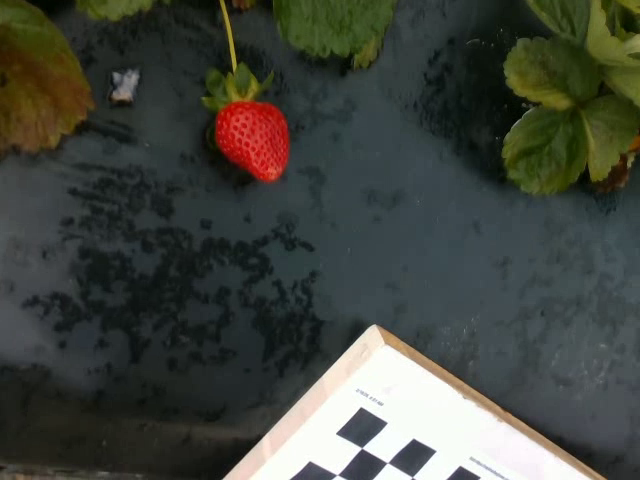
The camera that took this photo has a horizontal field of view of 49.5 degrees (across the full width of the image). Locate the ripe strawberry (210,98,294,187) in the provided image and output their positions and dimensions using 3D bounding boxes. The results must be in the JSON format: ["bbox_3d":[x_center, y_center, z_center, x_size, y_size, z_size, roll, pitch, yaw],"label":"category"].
[{"bbox_3d":[-0.034,-0.052,0.364,0.045,0.054,0.048,-14,-18,-4],"label":"ripe strawberry"}]
